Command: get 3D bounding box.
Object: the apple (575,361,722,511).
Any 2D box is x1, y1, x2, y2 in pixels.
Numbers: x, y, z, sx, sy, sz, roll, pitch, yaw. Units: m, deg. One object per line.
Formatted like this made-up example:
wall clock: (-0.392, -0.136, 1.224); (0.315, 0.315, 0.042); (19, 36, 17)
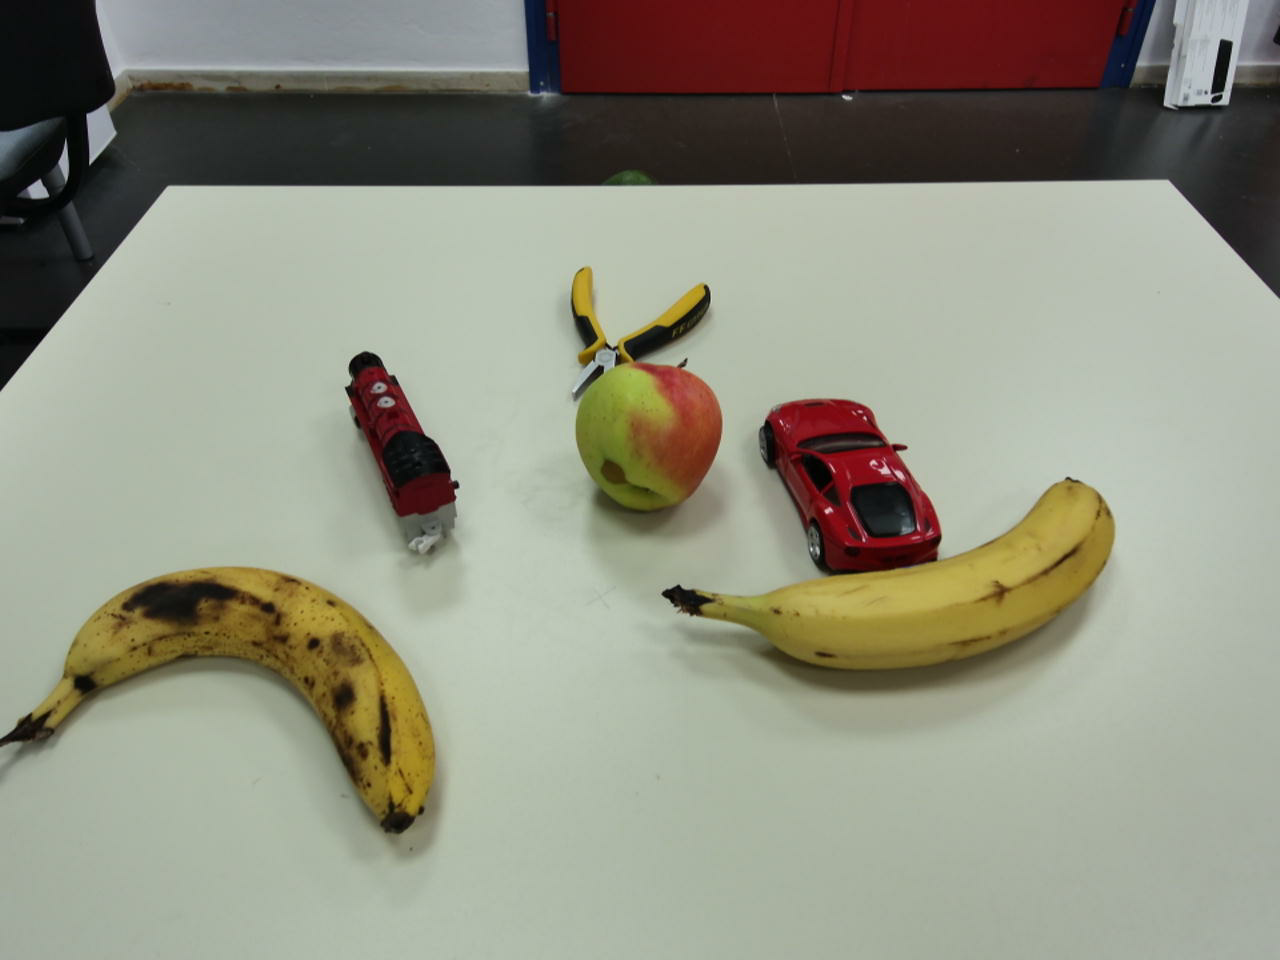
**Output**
apple: (0.005, -0.023, 0.505); (0.075, 0.074, 0.075); (-12, 40, -15)
